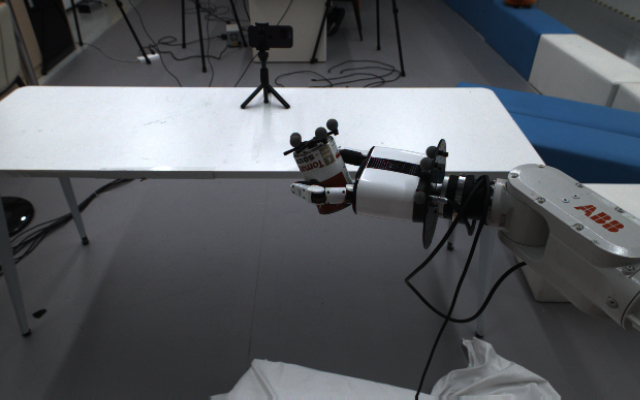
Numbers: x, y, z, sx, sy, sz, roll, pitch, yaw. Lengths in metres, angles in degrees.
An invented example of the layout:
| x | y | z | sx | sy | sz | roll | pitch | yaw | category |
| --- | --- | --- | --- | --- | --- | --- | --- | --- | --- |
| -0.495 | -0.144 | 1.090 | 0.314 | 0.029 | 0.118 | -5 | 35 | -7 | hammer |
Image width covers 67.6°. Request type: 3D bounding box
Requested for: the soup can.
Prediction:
| x | y | z | sx | sy | sz | roll | pitch | yaw | category |
| --- | --- | --- | --- | --- | --- | --- | --- | --- | --- |
| 0.010 | -0.038 | 0.737 | 0.067 | 0.101 | 0.067 | -23 | 16 | 7 | soup can |
